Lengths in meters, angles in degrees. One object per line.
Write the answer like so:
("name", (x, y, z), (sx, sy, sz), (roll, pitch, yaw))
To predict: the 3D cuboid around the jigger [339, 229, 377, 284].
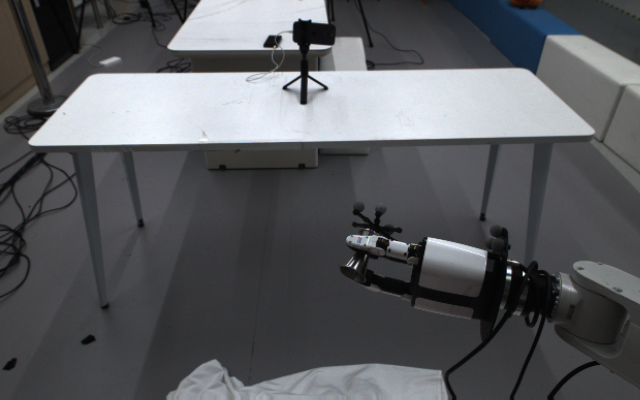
("jigger", (0.060, 0.076, 0.705), (0.043, 0.043, 0.071), (19, 61, 23))
